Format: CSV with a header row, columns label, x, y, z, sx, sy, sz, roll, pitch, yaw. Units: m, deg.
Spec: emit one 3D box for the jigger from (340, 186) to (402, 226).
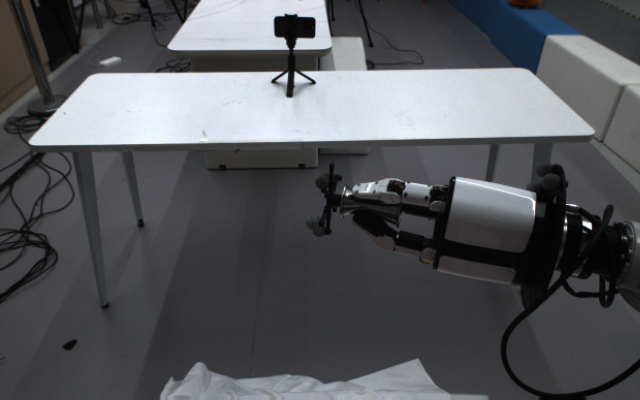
label,x,y,z,sx,sy,sz,roll,pitch,yaw
jigger,0.068,0.002,0.567,0.071,0.043,0.043,8,35,12
